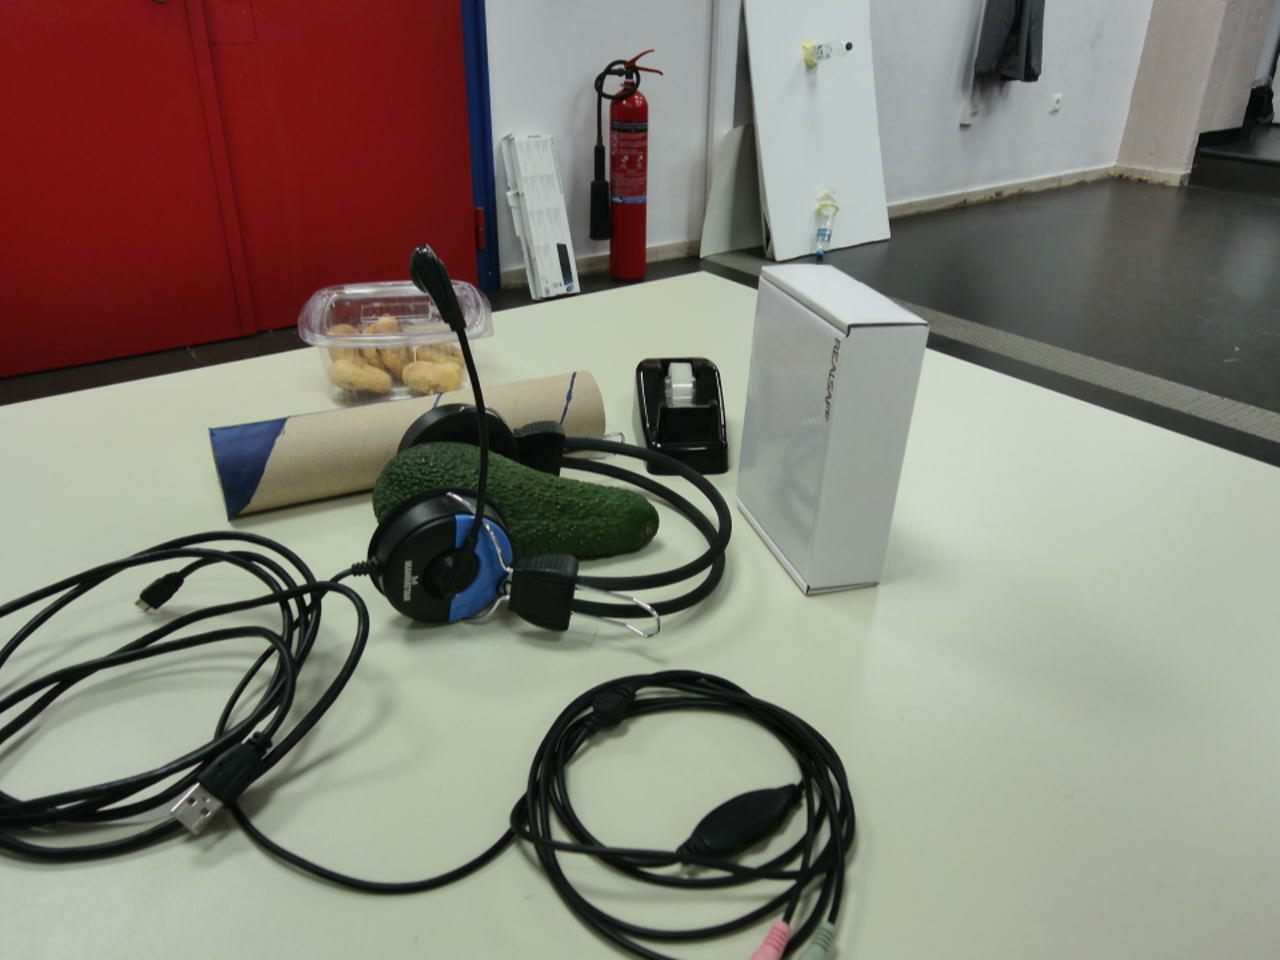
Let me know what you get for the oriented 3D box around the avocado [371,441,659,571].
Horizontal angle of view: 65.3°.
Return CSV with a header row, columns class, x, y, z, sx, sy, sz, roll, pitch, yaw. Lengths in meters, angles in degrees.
class,x,y,z,sx,sy,sz,roll,pitch,yaw
avocado,-0.061,0.008,0.502,0.141,0.067,0.063,-10,27,-20
